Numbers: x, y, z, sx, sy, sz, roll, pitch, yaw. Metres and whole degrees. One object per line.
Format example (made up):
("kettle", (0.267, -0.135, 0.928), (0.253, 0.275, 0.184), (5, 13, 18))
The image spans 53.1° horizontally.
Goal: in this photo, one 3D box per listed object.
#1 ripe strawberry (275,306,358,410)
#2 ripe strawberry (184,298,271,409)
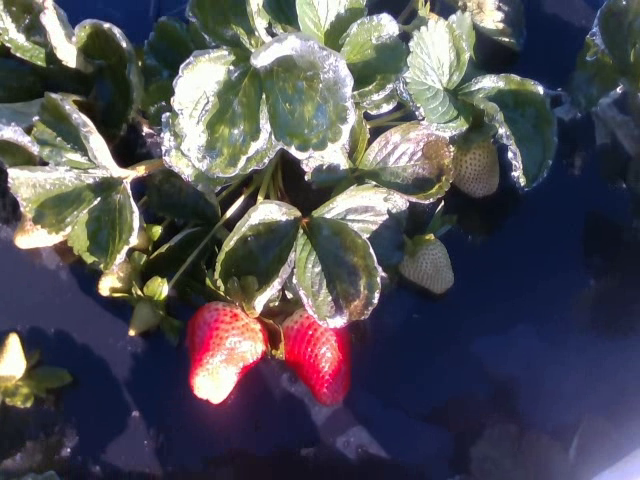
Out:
("ripe strawberry", (0.000, 0.068, 0.378), (0.043, 0.059, 0.040), (-29, 0, -7))
("ripe strawberry", (-0.055, 0.071, 0.379), (0.052, 0.070, 0.040), (18, -9, -16))
